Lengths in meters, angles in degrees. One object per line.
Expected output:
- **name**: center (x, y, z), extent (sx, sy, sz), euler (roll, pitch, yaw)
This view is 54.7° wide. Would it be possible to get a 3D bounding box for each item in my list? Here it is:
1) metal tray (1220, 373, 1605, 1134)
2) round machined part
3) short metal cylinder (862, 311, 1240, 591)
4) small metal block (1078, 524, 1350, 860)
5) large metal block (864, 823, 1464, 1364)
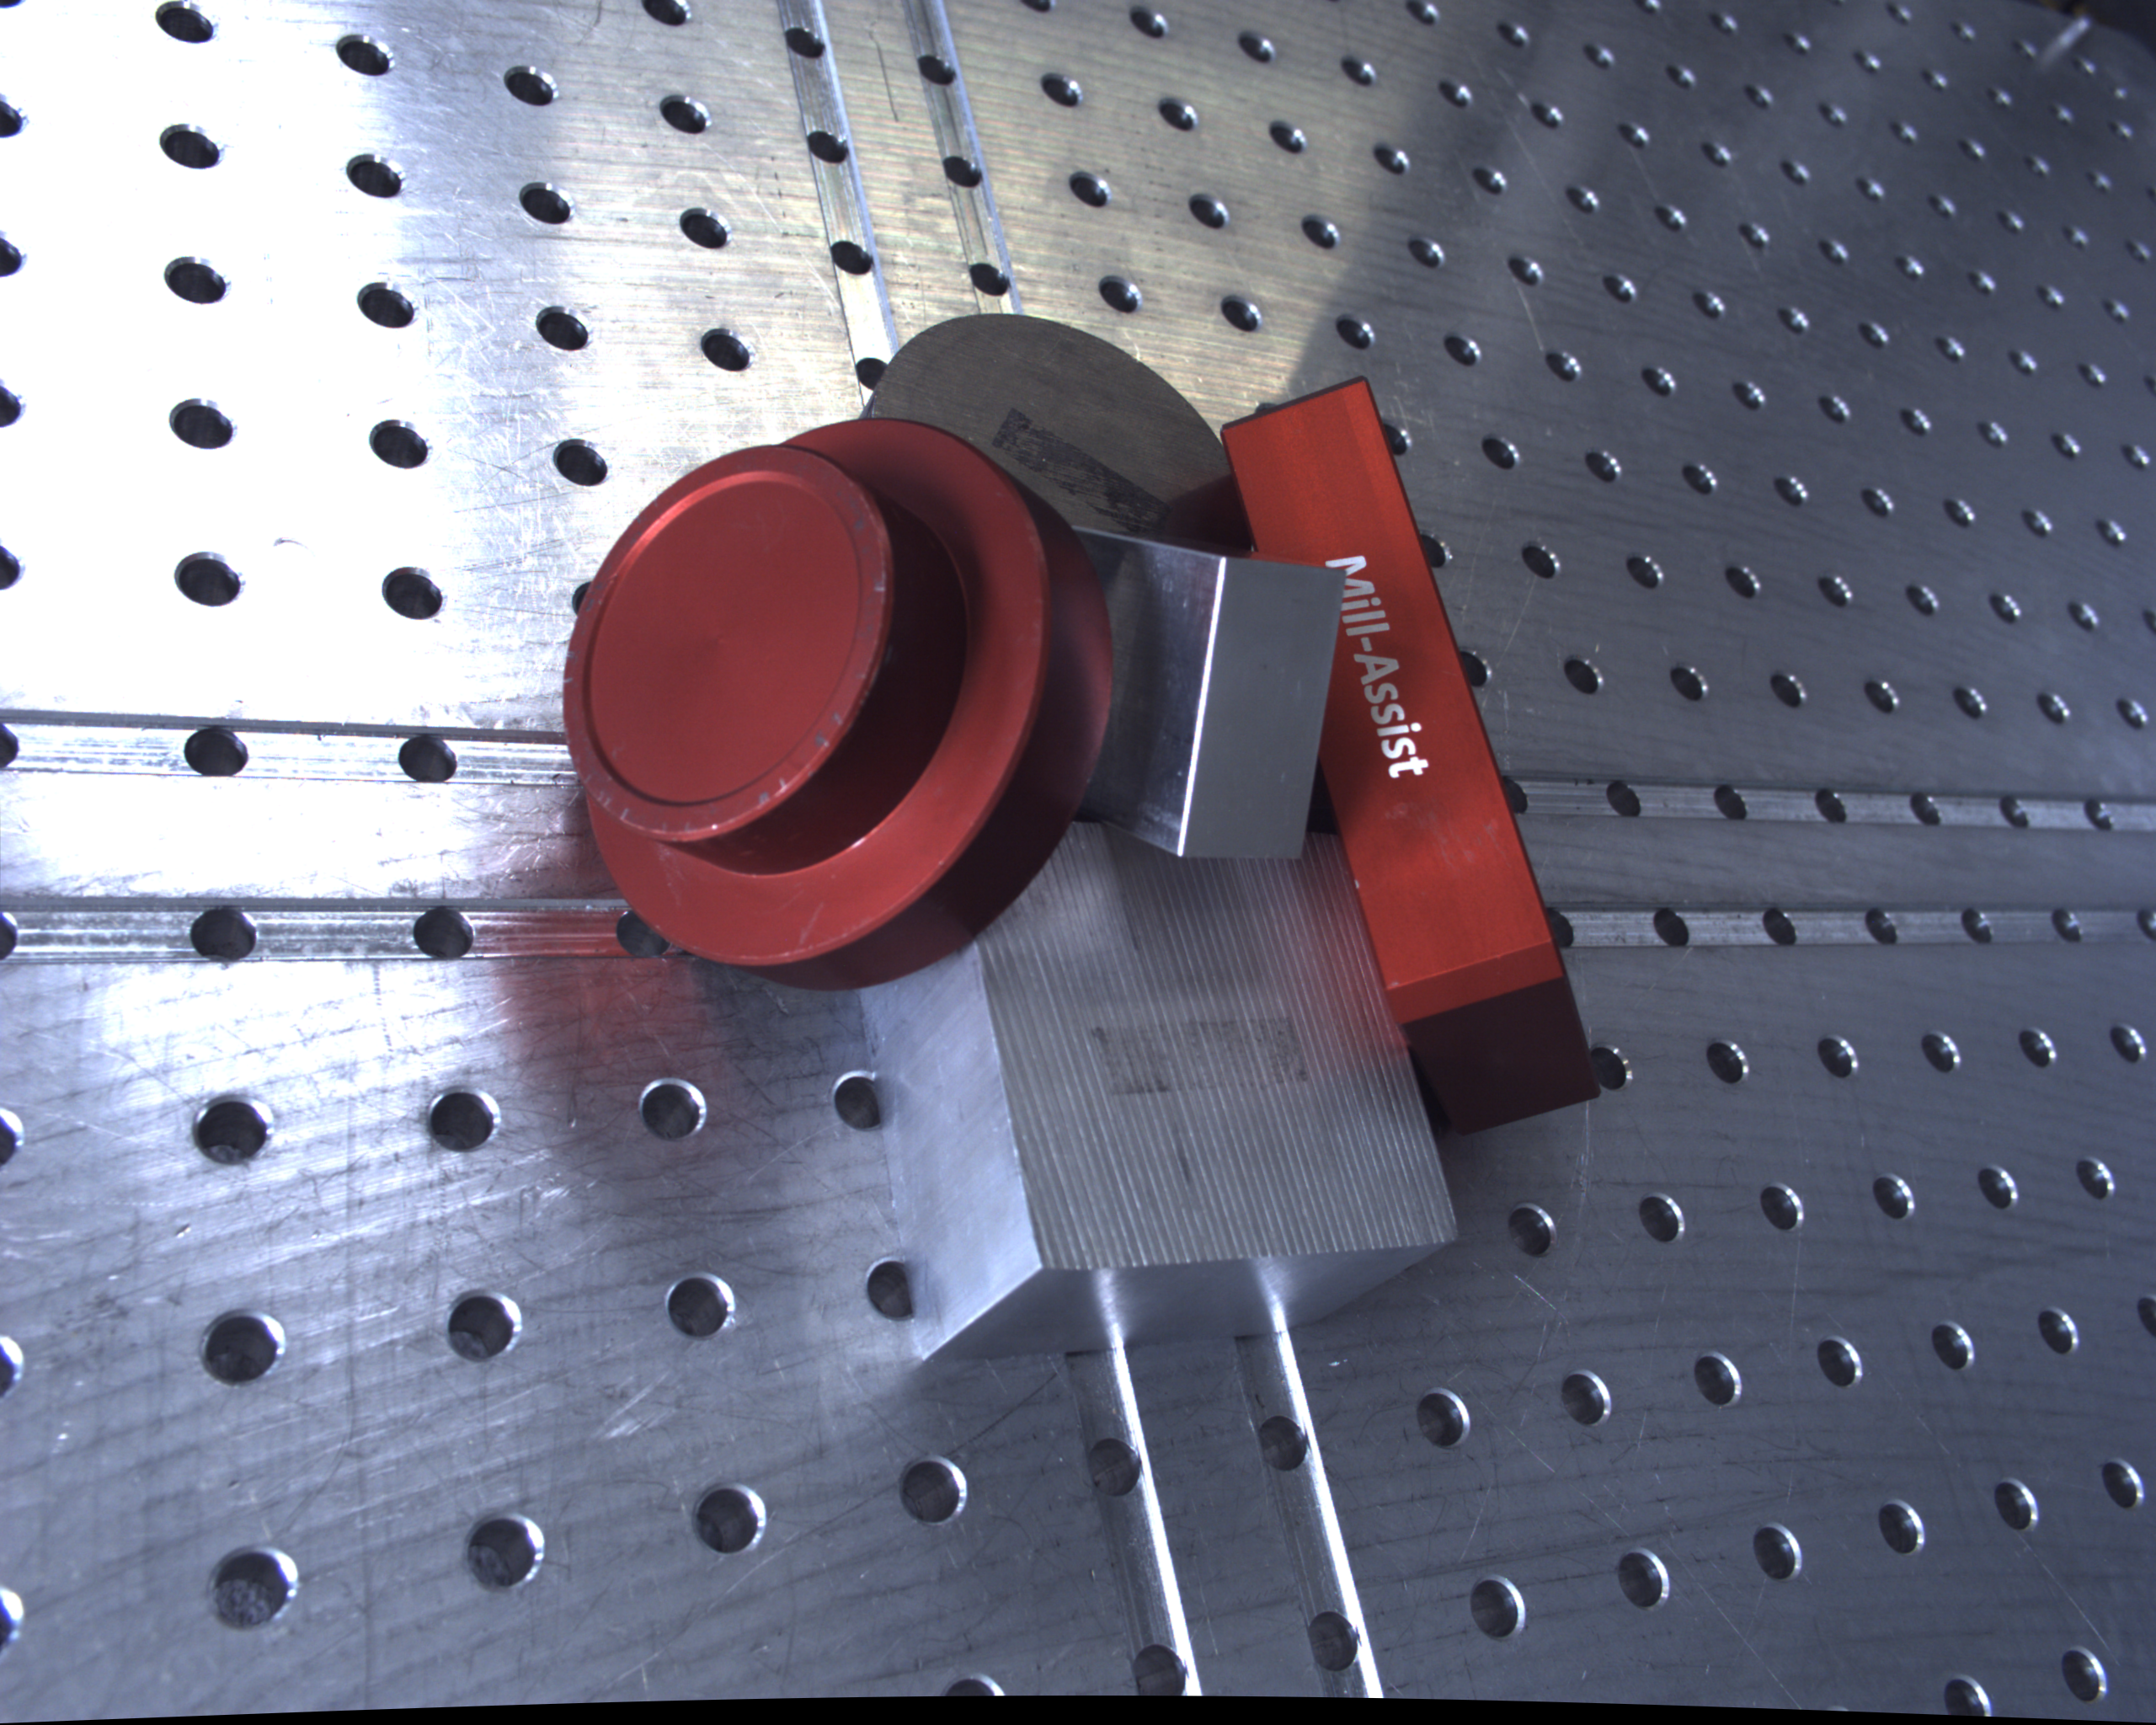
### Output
- **metal tray**: center (0.067, -0.020, 0.416), extent (0.030, 0.090, 0.130), euler (-19, 64, 11)
- **round machined part**: center (-0.047, -0.031, 0.350), extent (0.042, 0.098, 0.098), euler (29, 43, -55)
- **short metal cylinder**: center (-0.012, -0.064, 0.423), extent (0.081, 0.050, 0.080), euler (14, 56, -21)
- **small metal block**: center (0.019, -0.031, 0.366), extent (0.025, 0.050, 0.050), euler (2, 103, -31)
- **large metal block**: center (0.012, 0.040, 0.373), extent (0.081, 0.050, 0.080), euler (2, 61, -27)
